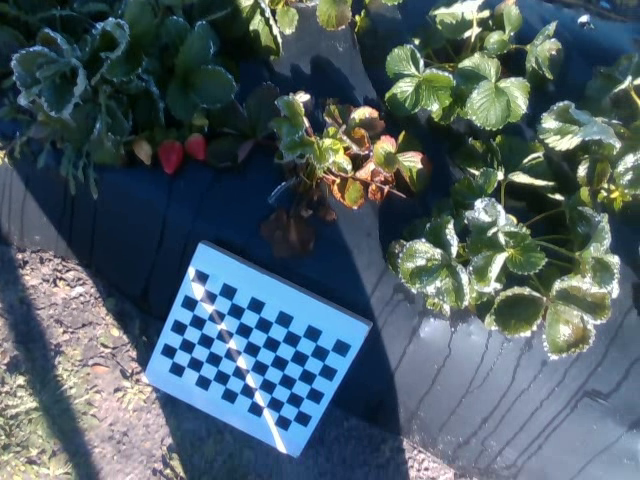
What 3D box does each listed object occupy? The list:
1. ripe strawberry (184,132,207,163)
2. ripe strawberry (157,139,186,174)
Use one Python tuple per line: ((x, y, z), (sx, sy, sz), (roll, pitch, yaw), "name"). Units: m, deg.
((-0.165, -0.131, 0.781), (0.036, 0.041, 0.030), (-36, 2, 18), "ripe strawberry")
((-0.200, -0.112, 0.774), (0.036, 0.052, 0.040), (-11, -23, 13), "ripe strawberry")
